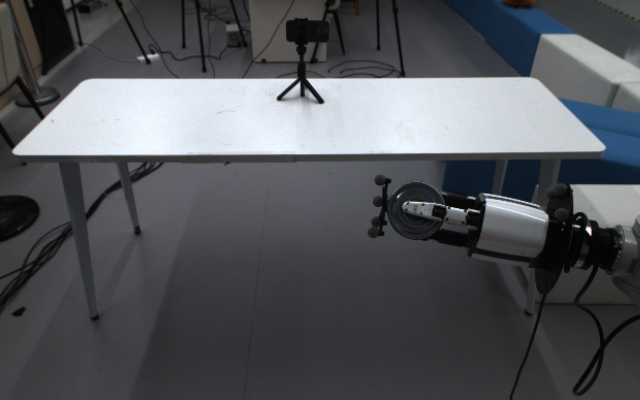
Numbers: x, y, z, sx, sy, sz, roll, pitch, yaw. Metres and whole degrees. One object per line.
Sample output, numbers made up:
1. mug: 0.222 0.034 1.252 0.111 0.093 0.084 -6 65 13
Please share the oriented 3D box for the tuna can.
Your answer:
1. tuna can: 0.144 0.013 0.717 0.085 0.085 0.034 9 -7 10
